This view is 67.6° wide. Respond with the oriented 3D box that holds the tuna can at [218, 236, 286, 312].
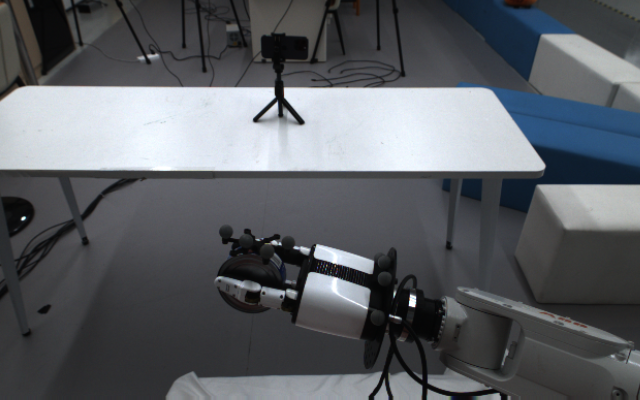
[{"bbox_3d":[-0.085,0.101,0.625,0.085,0.085,0.034,5,18,5],"label":"tuna can"}]
